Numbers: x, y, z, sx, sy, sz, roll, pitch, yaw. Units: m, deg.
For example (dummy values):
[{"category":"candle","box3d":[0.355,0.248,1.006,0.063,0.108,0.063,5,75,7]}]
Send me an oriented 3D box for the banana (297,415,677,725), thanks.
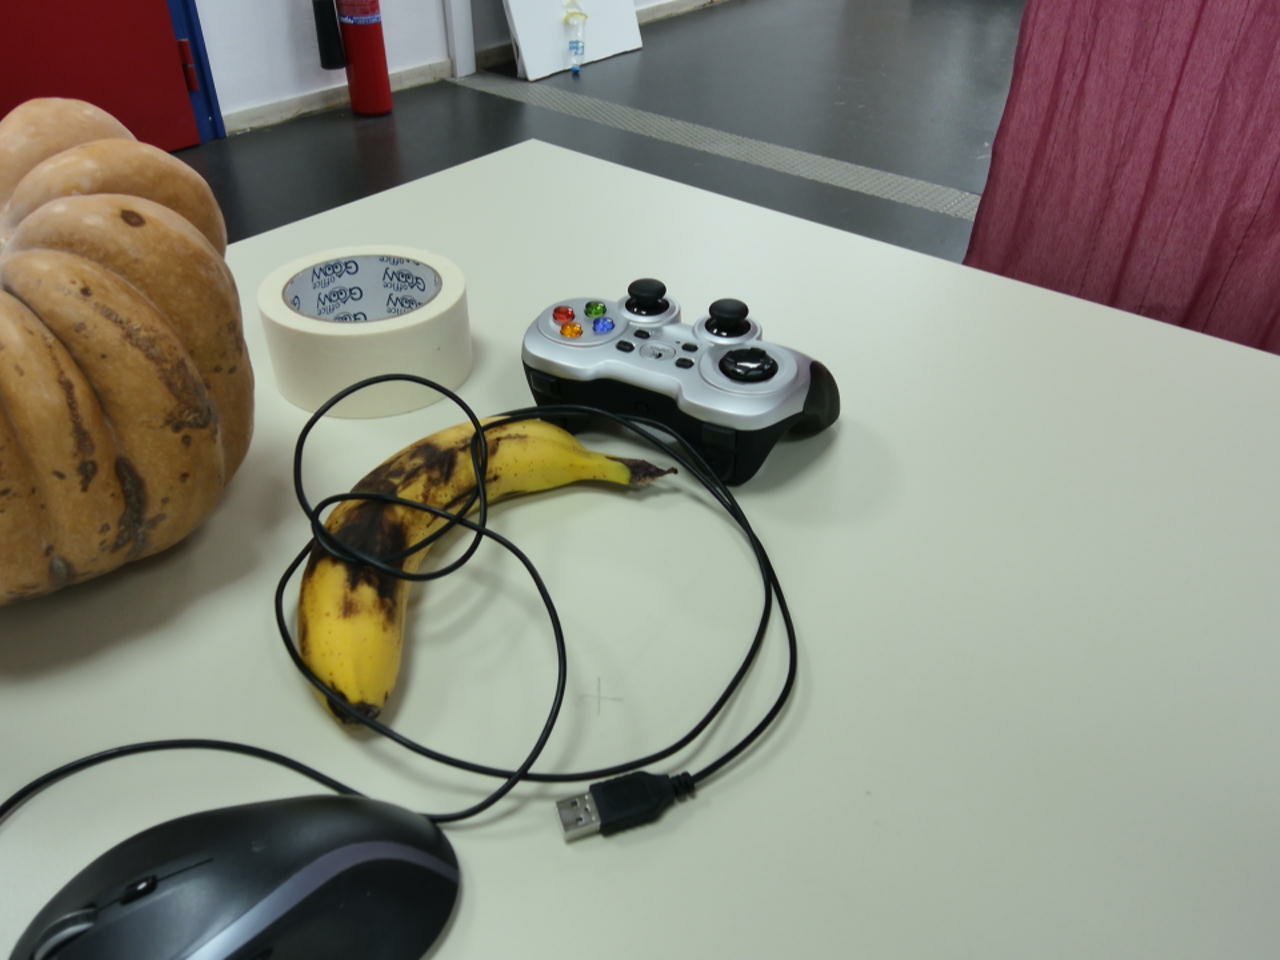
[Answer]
[{"category":"banana","box3d":[-0.077,0.018,0.413,0.094,0.039,0.187,24,41,28]}]
